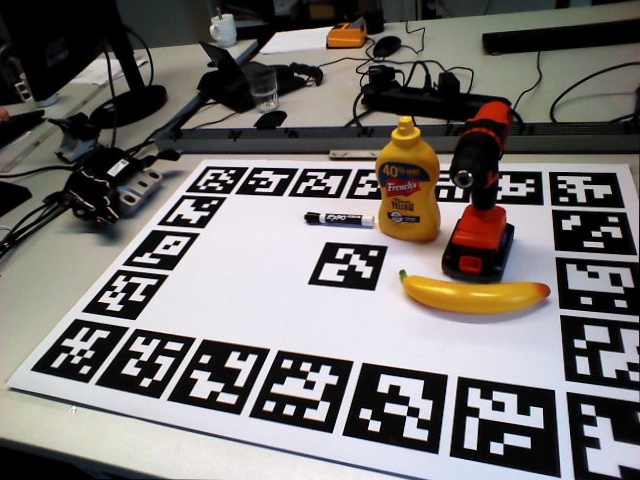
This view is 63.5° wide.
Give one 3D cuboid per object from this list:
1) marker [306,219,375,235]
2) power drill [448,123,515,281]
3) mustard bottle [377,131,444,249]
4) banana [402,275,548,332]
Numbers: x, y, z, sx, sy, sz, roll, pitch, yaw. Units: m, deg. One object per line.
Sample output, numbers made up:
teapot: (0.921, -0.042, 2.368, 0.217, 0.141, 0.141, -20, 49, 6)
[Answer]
marker: (0.033, -0.023, 0.883, 0.122, 0.020, 0.019, 5, 43, 21)
power drill: (0.213, -0.041, 0.688, 0.057, 0.187, 0.183, 15, 44, 28)
mustard bottle: (0.135, -0.075, 0.780, 0.097, 0.192, 0.058, 13, 45, 27)
banana: (0.194, 0.088, 0.689, 0.198, 0.039, 0.073, 8, 44, 27)
